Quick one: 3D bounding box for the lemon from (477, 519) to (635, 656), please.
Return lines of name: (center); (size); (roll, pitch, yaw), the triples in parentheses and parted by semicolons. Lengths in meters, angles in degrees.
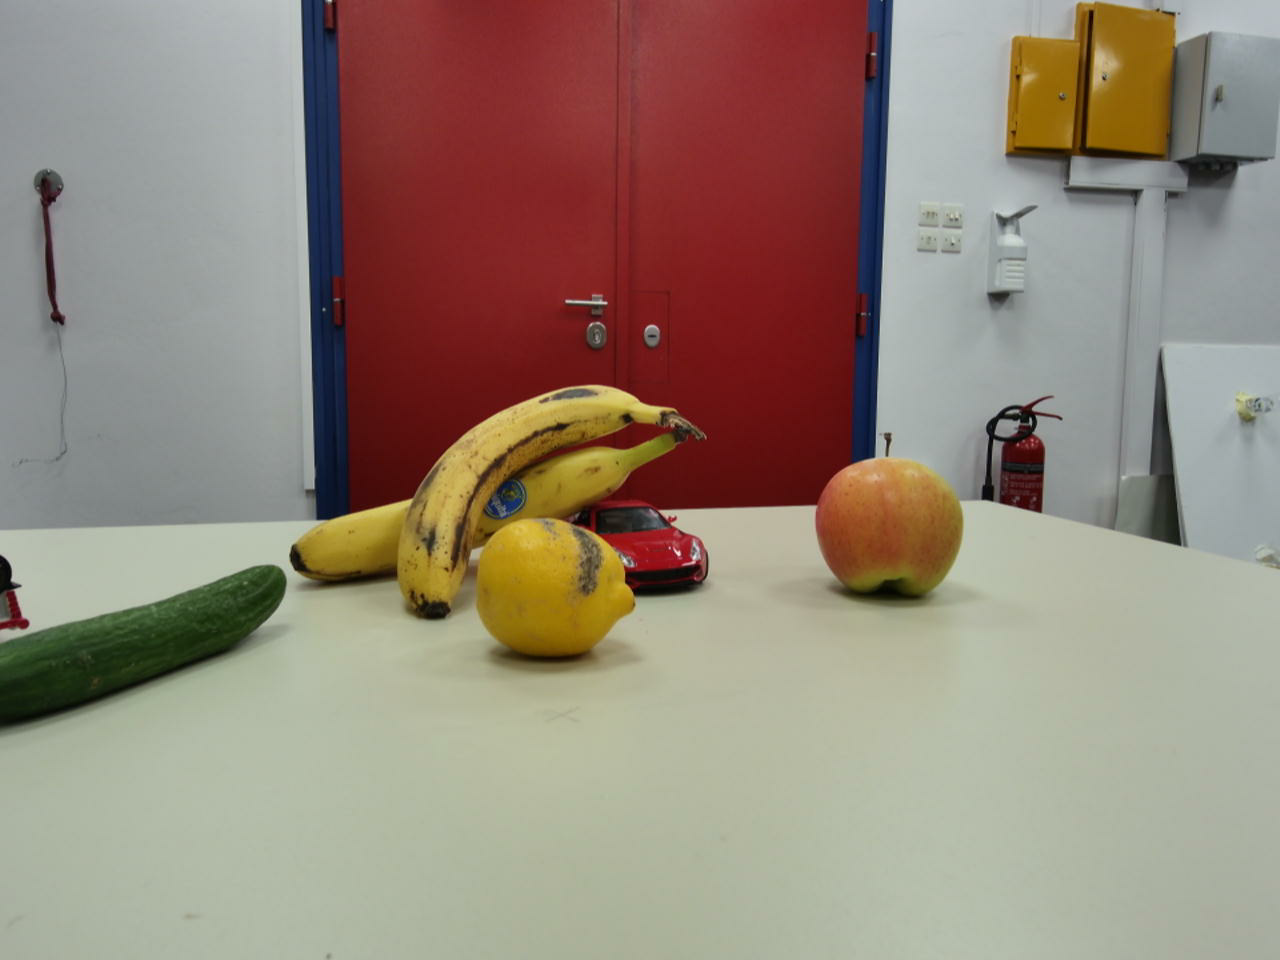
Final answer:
lemon: (-0.037, 0.044, 0.414); (0.061, 0.056, 0.058); (-1, 5, -21)
